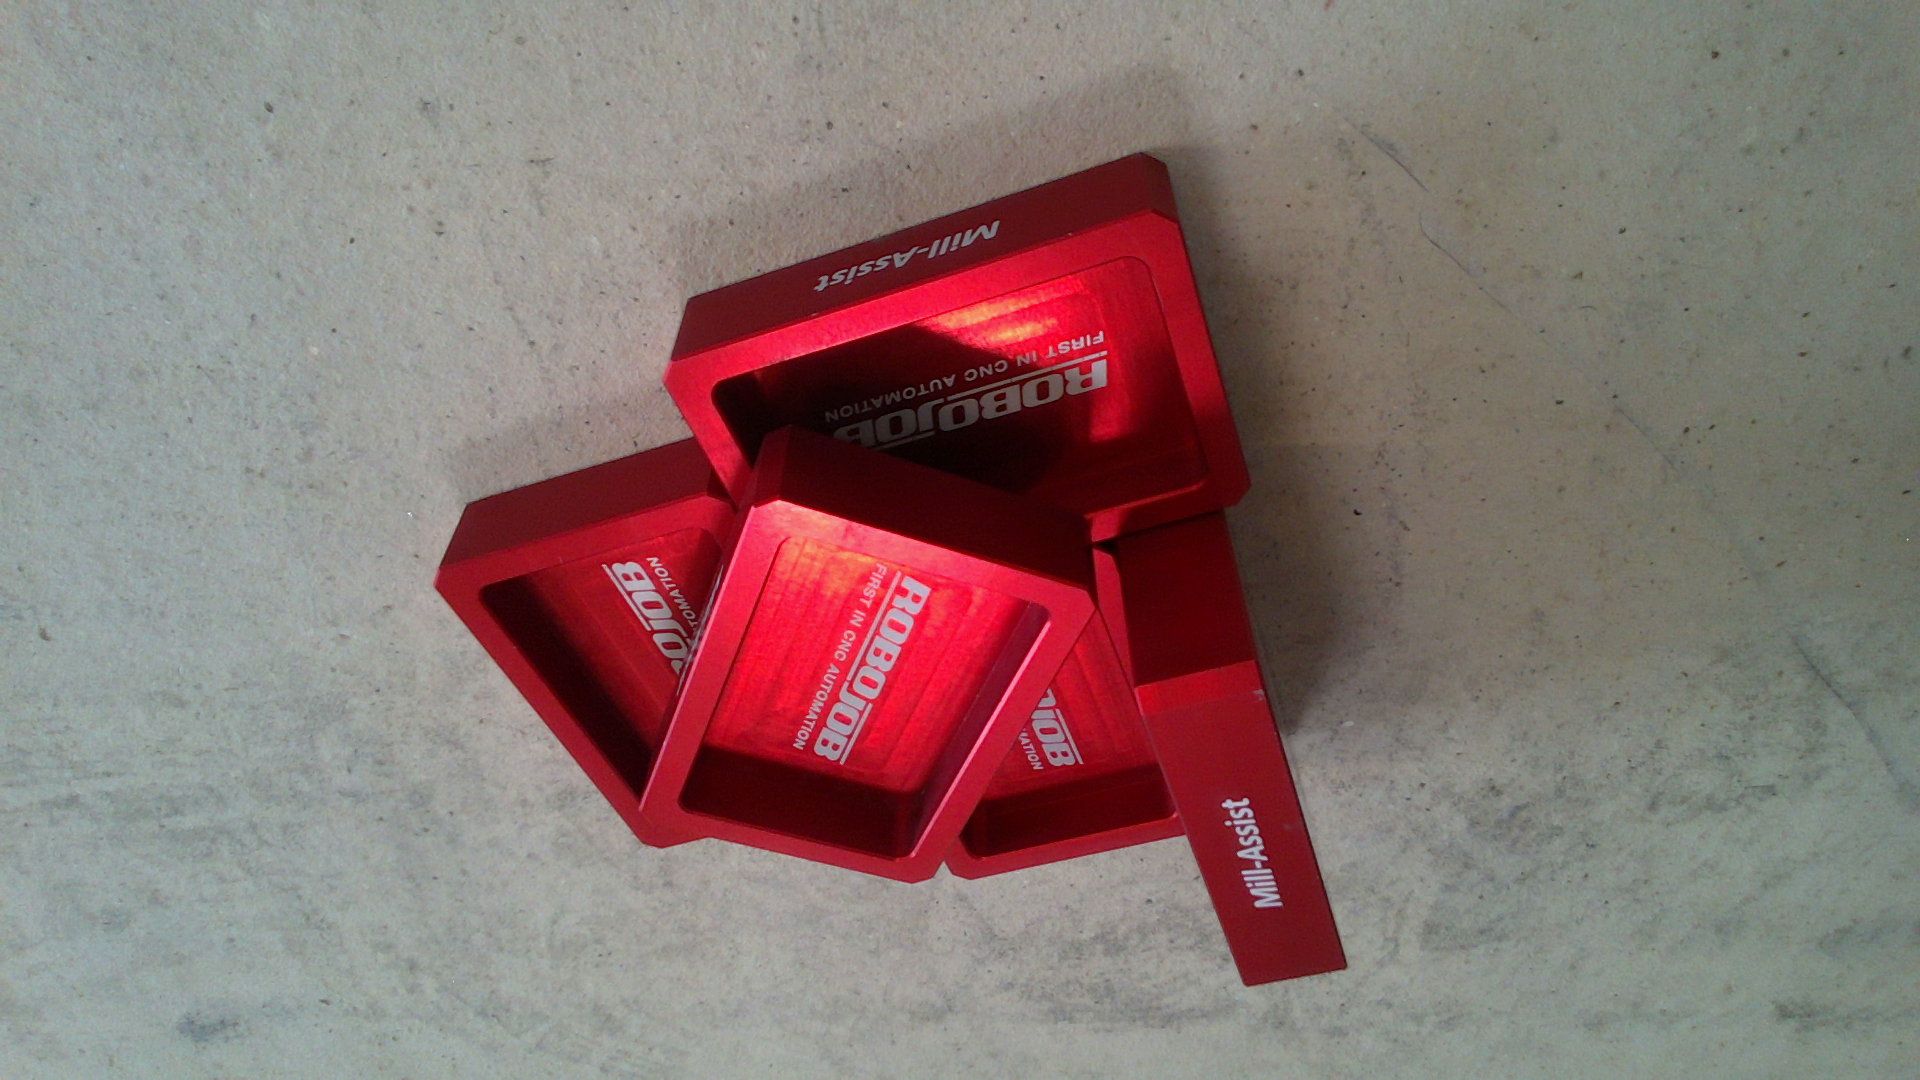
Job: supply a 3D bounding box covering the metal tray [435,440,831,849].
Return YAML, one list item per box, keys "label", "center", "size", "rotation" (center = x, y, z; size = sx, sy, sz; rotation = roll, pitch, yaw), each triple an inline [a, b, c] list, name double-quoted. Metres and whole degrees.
- label: "metal tray"
  center: [-0.082, 0.036, 0.416]
  size: [0.090, 0.030, 0.130]
  rotation: [-15, 128, 12]

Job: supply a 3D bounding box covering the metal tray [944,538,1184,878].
- label: "metal tray"
  center: [0.019, 0.050, 0.427]
  size: [0.090, 0.030, 0.130]
  rotation: [-15, 130, 13]

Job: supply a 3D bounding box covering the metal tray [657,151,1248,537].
- label: "metal tray"
  center: [0.001, -0.037, 0.358]
  size: [0.130, 0.030, 0.090]
  rotation: [-14, 129, 12]

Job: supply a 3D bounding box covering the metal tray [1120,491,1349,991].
- label: "metal tray"
  center: [0.078, 0.054, 0.392]
  size: [0.030, 0.090, 0.130]
  rotation: [-14, 129, 12]

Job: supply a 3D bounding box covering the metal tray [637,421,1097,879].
- label: "metal tray"
  center: [-0.029, 0.037, 0.381]
  size: [0.090, 0.030, 0.130]
  rotation: [17, 129, -13]
